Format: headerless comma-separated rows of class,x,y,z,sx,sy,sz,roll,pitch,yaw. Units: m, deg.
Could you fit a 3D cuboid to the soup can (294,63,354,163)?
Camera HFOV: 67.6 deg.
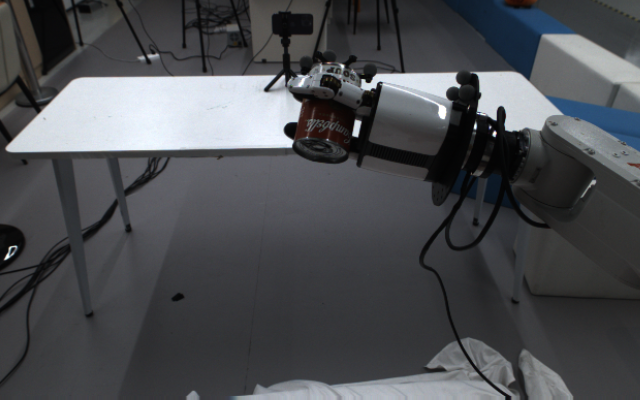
soup can,0.011,-0.103,0.576,0.067,0.067,0.101,8,72,9
